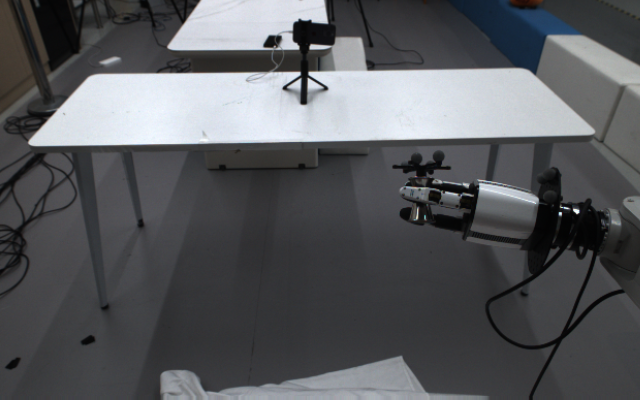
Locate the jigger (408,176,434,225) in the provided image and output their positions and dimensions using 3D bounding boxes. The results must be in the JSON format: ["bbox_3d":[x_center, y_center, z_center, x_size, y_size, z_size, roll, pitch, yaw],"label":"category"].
[{"bbox_3d":[0.154,-0.001,0.747,0.043,0.071,0.043,2,-6,0],"label":"jigger"}]
